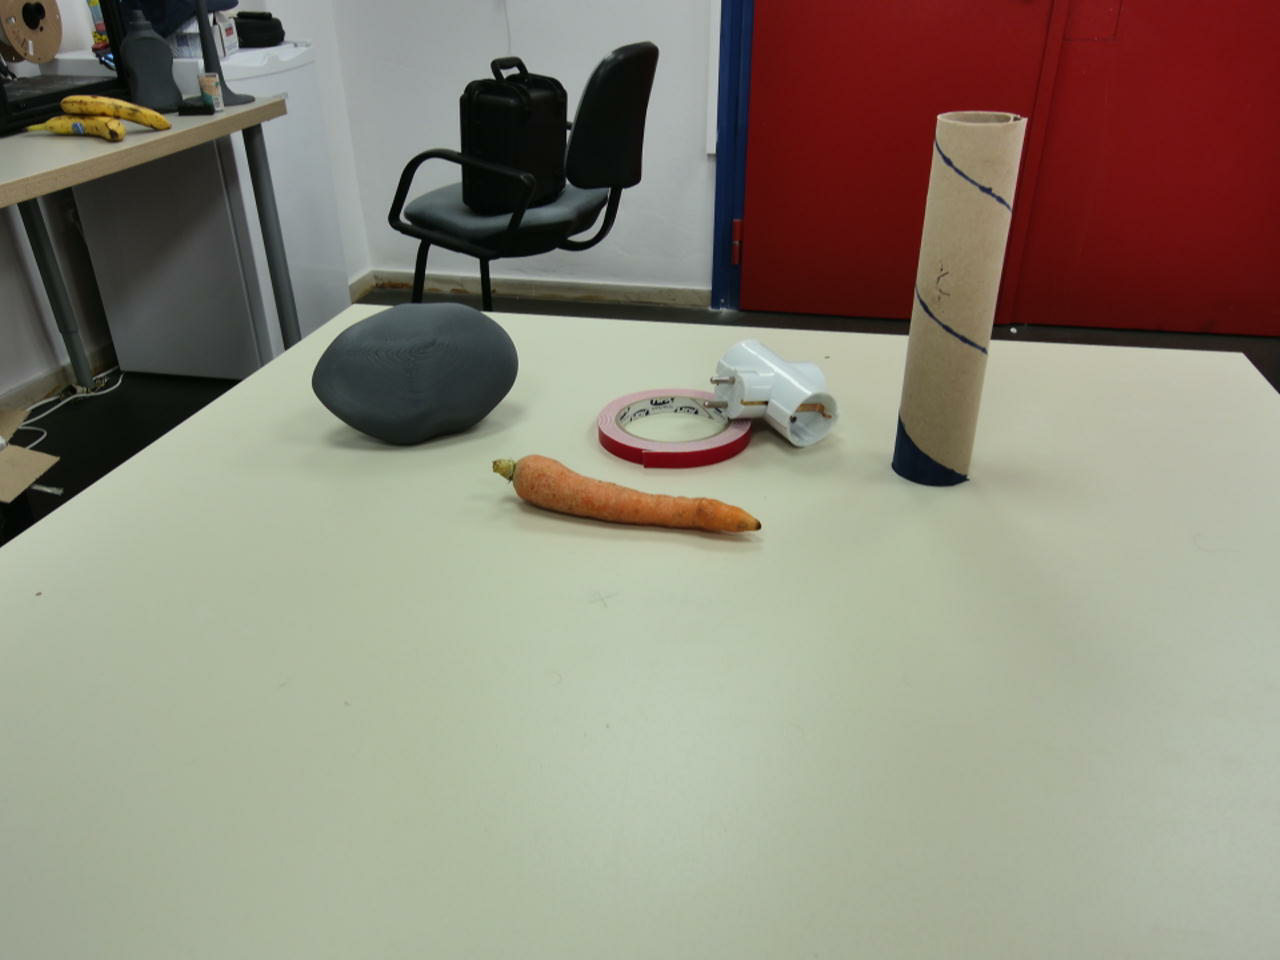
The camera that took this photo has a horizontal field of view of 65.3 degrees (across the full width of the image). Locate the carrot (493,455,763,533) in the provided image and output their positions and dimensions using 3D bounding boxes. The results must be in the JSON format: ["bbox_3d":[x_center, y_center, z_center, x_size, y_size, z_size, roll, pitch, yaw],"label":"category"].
[{"bbox_3d":[-0.011,0.010,0.606,0.173,0.032,0.030,9,28,19],"label":"carrot"}]
